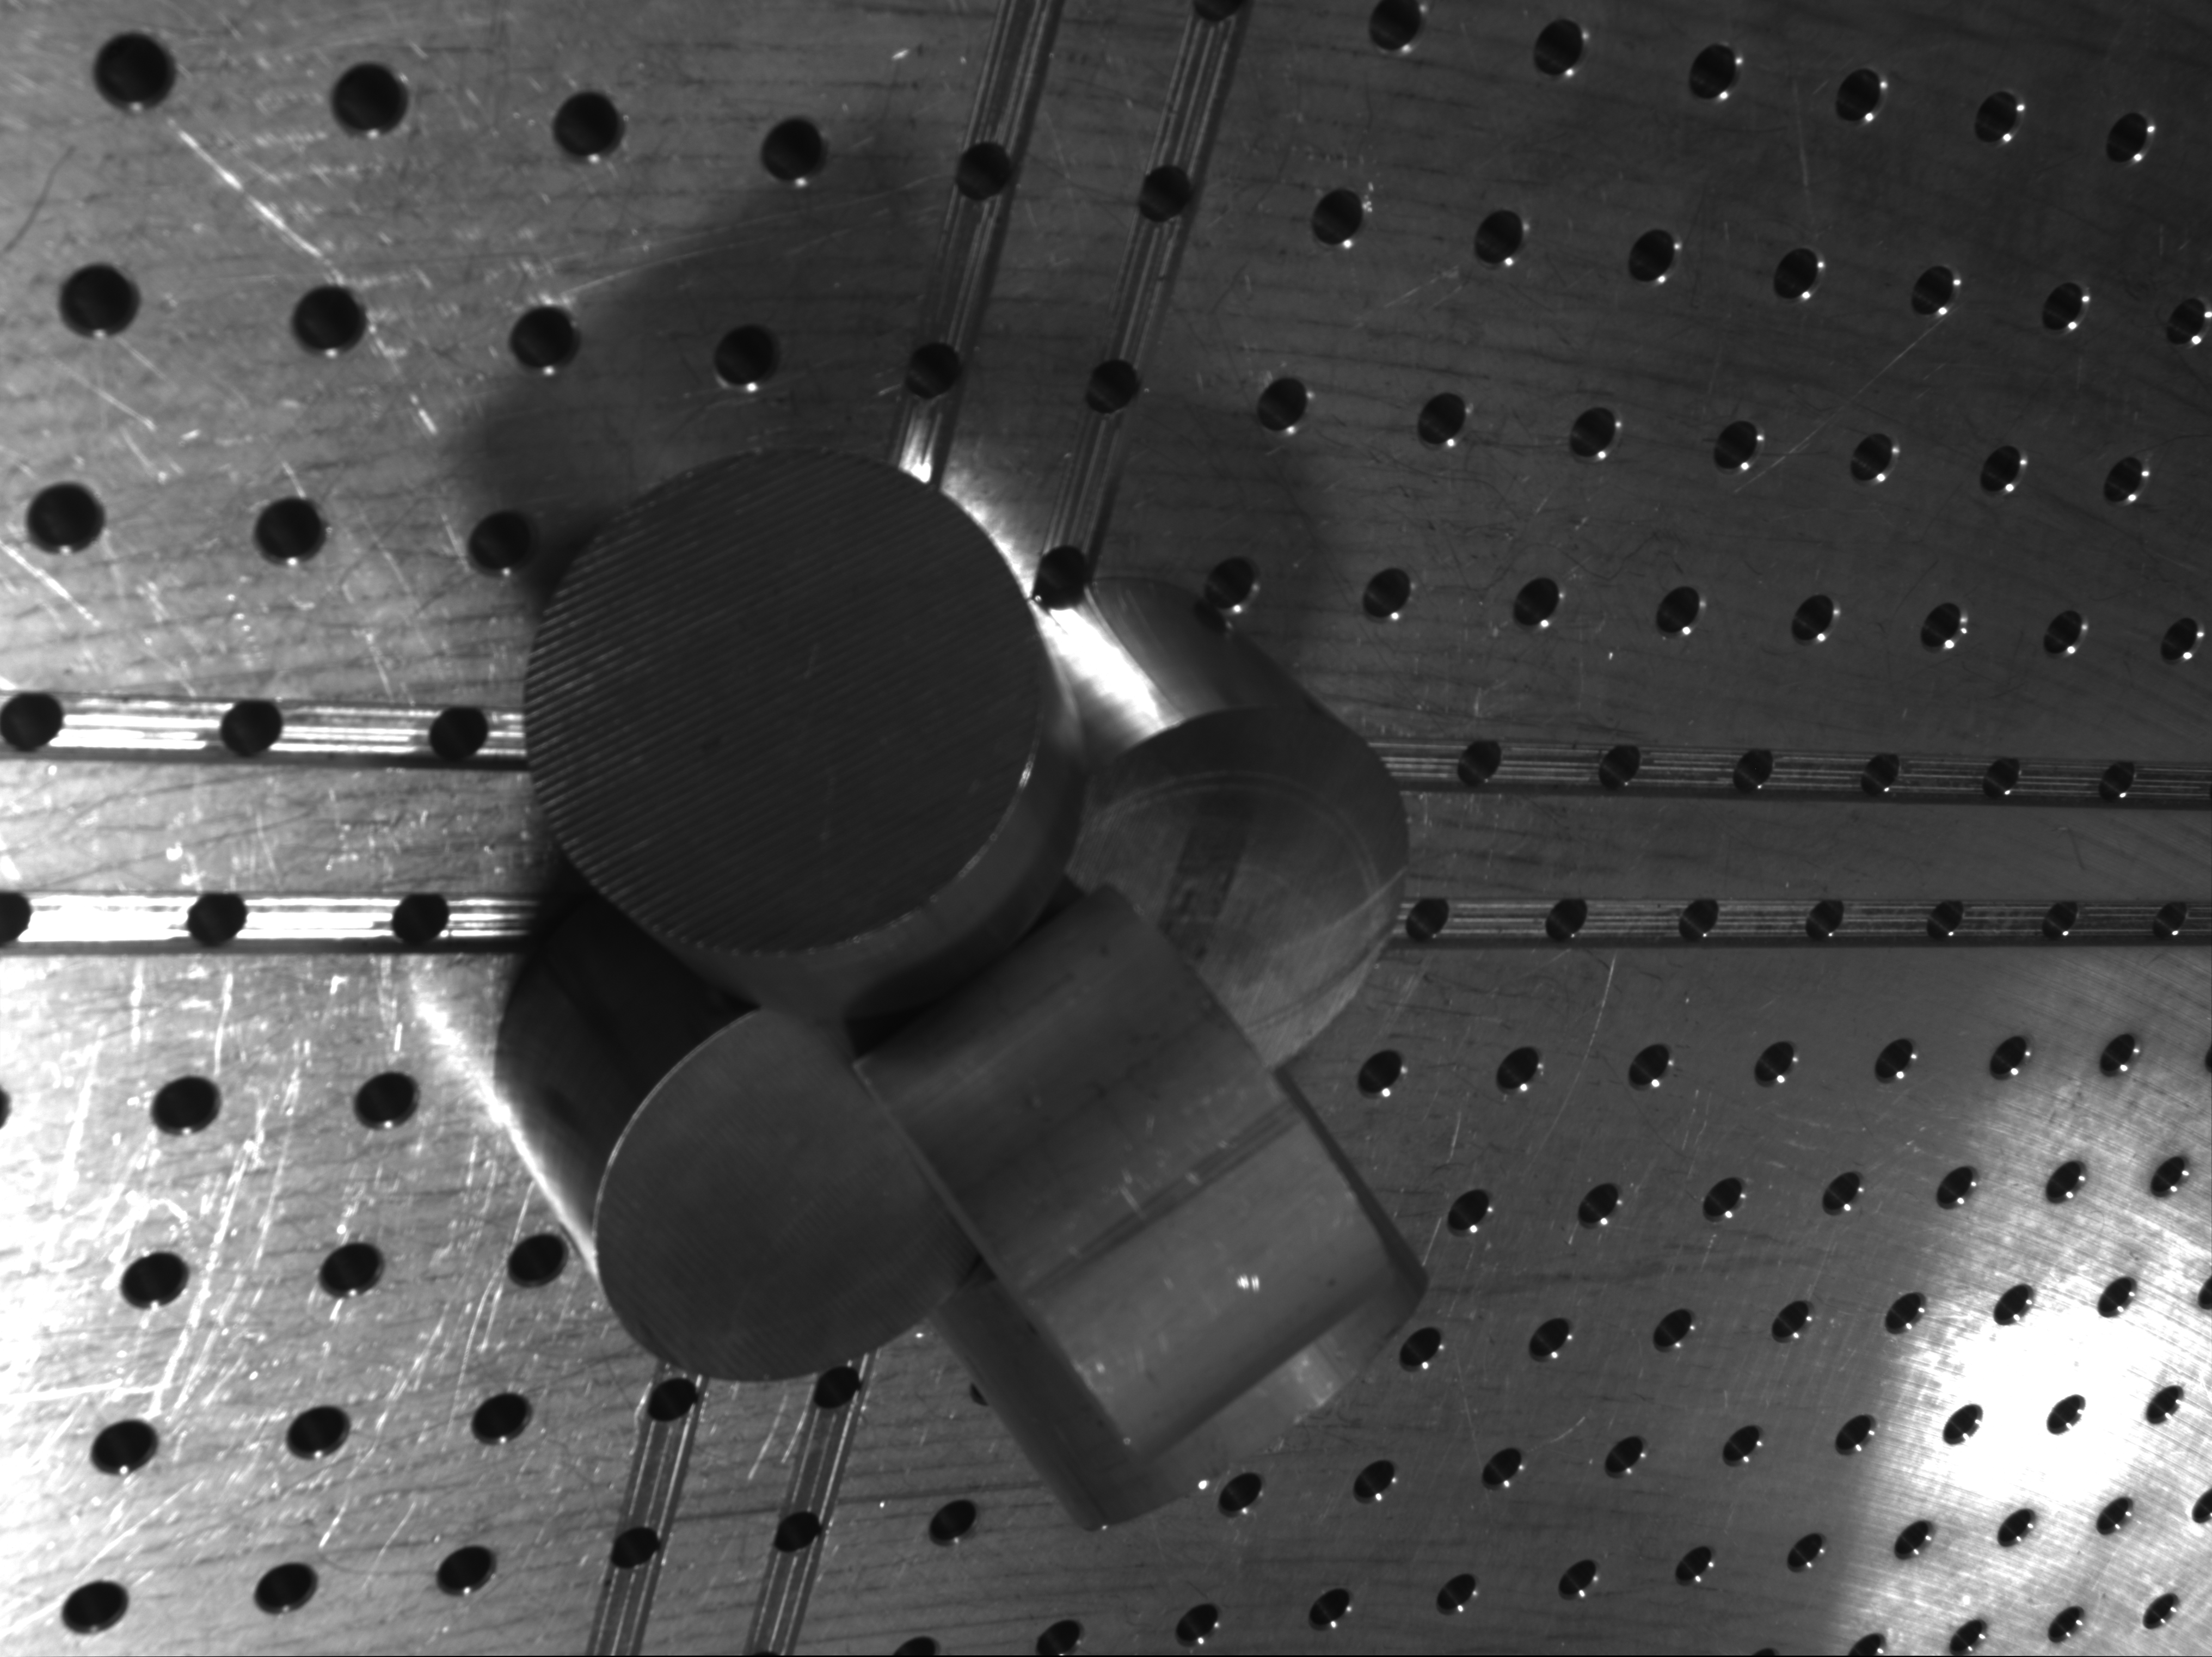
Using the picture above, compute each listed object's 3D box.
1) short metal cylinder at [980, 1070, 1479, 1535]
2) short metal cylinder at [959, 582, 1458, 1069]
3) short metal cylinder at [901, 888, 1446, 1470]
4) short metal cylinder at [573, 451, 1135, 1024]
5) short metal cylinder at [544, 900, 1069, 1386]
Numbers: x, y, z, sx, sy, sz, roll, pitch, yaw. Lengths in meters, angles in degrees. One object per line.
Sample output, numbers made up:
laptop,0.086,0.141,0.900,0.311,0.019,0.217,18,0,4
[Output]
short metal cylinder,0.021,0.085,0.673,0.080,0.080,0.050,-35,94,-7
short metal cylinder,0.015,0.003,0.647,0.080,0.050,0.080,-15,125,-22
short metal cylinder,0.011,0.057,0.592,0.050,0.080,0.080,-36,130,-6
short metal cylinder,-0.038,-0.013,0.578,0.080,0.080,0.050,-40,164,-3
short metal cylinder,-0.051,0.049,0.637,0.080,0.050,0.080,-15,125,-22
